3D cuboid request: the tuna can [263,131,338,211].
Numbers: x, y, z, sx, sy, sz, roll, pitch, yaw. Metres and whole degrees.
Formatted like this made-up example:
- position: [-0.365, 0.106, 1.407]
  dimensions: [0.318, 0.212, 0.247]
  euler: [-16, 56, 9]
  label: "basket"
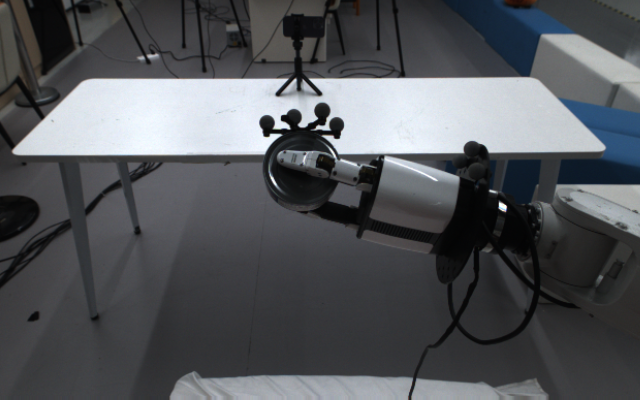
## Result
- position: [-0.018, -0.028, 0.533]
  dimensions: [0.085, 0.034, 0.085]
  euler: [1, 70, -4]
  label: "tuna can"
